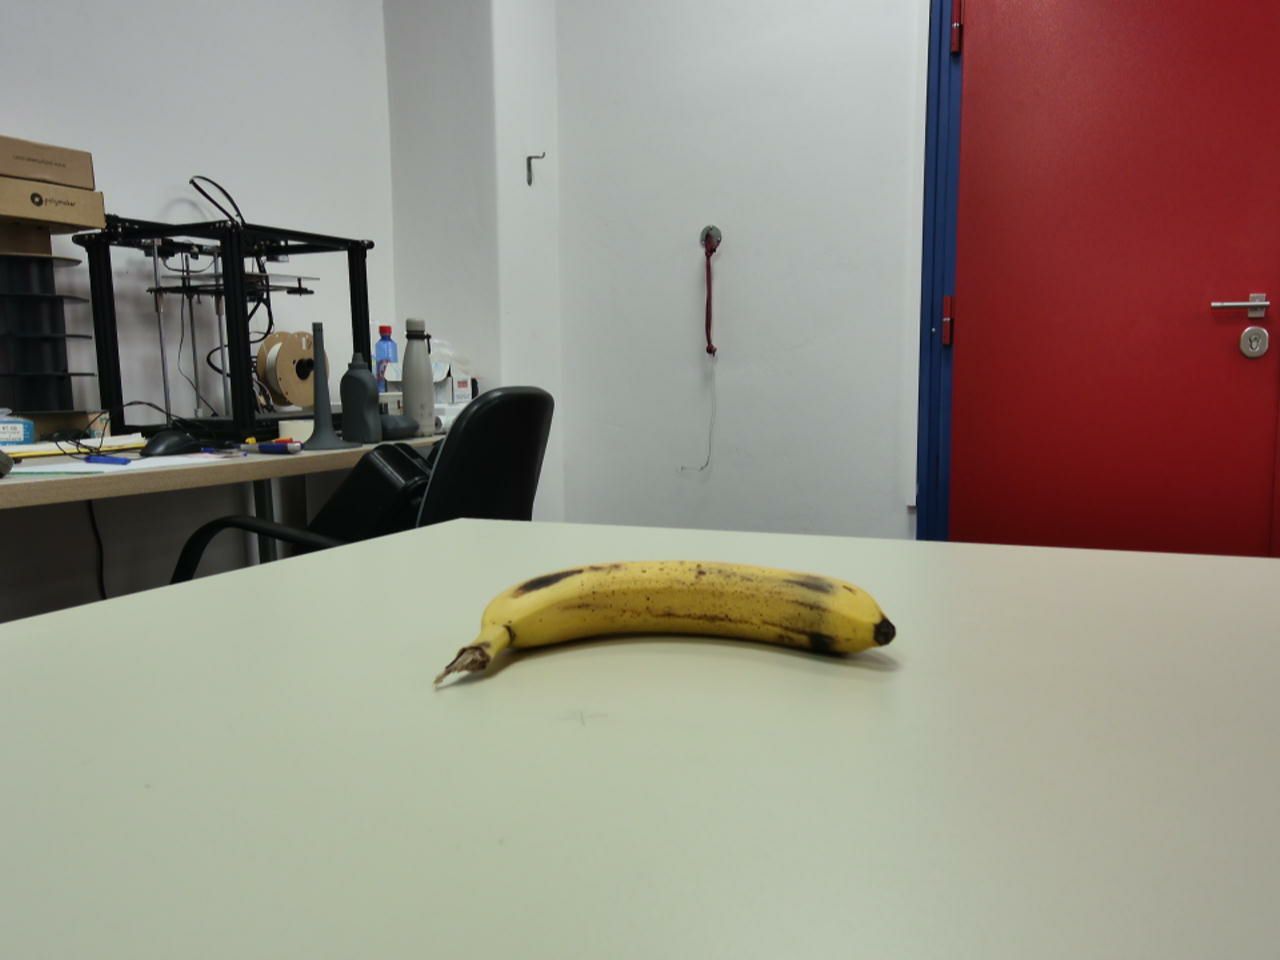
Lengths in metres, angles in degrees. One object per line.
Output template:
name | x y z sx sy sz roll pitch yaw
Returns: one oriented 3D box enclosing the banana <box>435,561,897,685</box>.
banana | 0.012 0.060 0.455 0.186 0.038 0.097 0 3 -2
